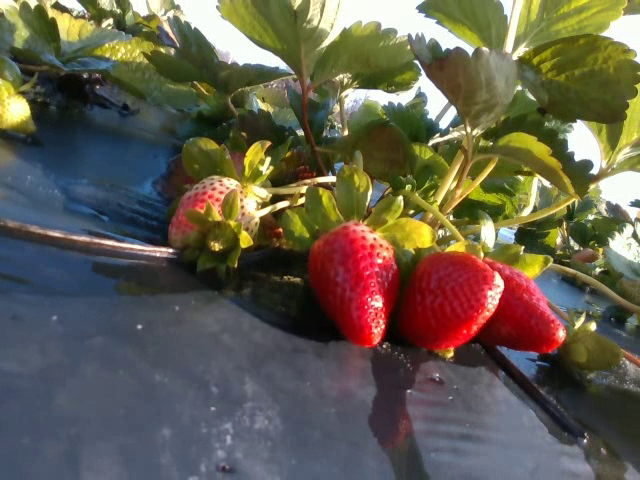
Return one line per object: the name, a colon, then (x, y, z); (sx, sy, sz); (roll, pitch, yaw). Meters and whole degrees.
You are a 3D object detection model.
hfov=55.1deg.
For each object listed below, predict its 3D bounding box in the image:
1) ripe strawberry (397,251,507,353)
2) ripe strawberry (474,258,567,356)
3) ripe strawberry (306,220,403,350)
ripe strawberry: (0.041, 0.015, 0.179); (0.030, 0.037, 0.039); (25, -14, -14)
ripe strawberry: (0.065, 0.025, 0.192); (0.035, 0.034, 0.041); (13, 3, -23)
ripe strawberry: (0.012, 0.012, 0.174); (0.031, 0.023, 0.046); (16, 38, -21)
